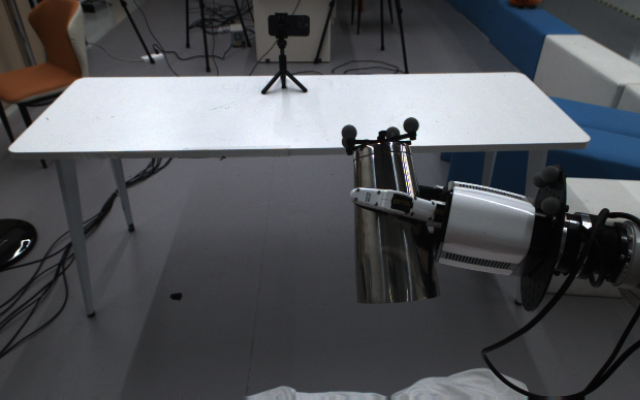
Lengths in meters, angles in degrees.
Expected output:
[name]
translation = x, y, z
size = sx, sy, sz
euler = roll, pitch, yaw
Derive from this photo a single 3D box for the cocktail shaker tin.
[cocktail shaker tin]
translation = 0.080, 0.026, 0.548
size = 0.093, 0.170, 0.093
euler = -6, -7, -1
